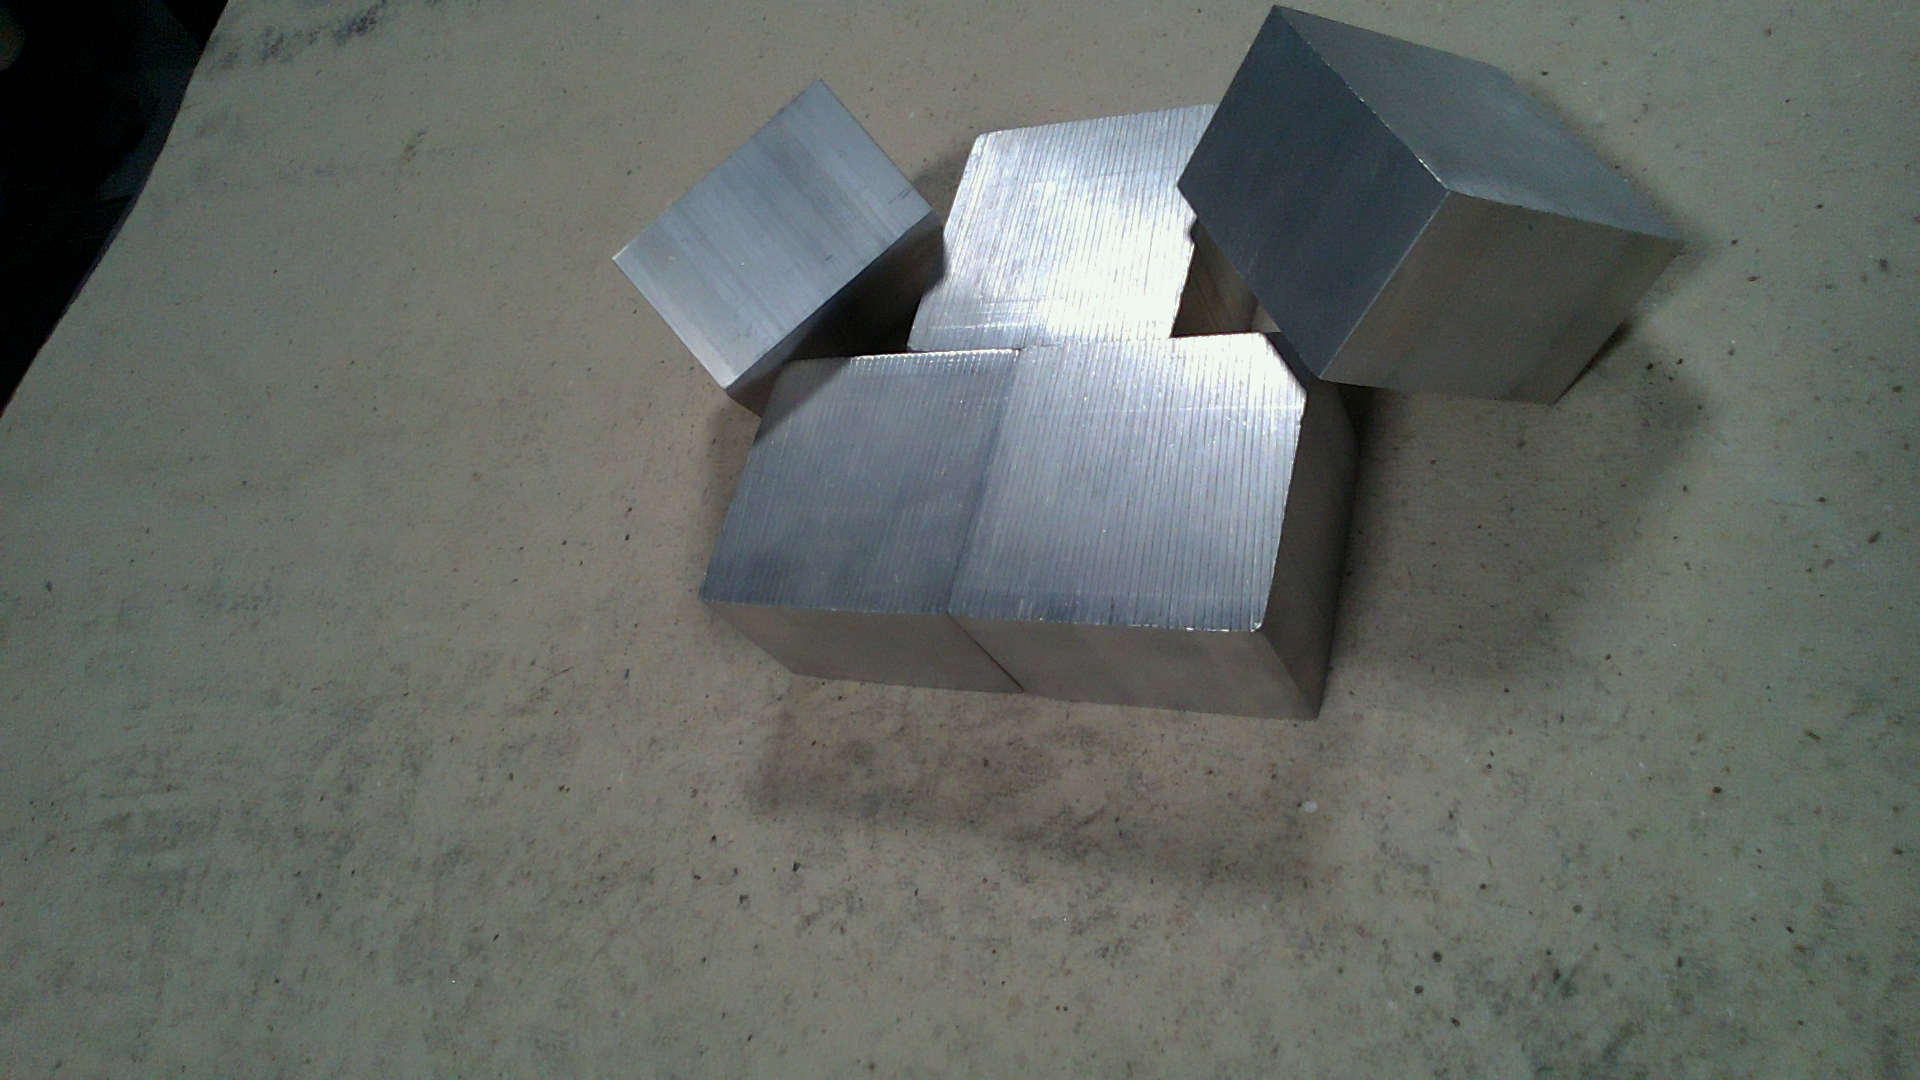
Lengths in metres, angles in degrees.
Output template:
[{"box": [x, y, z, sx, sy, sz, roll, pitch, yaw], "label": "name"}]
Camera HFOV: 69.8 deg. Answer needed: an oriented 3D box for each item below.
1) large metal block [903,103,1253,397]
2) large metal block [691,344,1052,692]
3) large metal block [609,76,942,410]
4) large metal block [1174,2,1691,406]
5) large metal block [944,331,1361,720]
[{"box": [0.040, -0.076, 0.403, 0.080, 0.050, 0.080, 3, 63, 30], "label": "large metal block"}, {"box": [-0.018, -0.006, 0.391, 0.080, 0.050, 0.080, 1, 62, 29], "label": "large metal block"}, {"box": [-0.051, -0.085, 0.429, 0.080, 0.080, 0.050, -41, 85, 1], "label": "large metal block"}, {"box": [0.113, -0.081, 0.340, 0.050, 0.080, 0.080, -62, 38, 38], "label": "large metal block"}, {"box": [0.052, -0.004, 0.350, 0.080, 0.050, 0.080, 1, 62, 29], "label": "large metal block"}]
